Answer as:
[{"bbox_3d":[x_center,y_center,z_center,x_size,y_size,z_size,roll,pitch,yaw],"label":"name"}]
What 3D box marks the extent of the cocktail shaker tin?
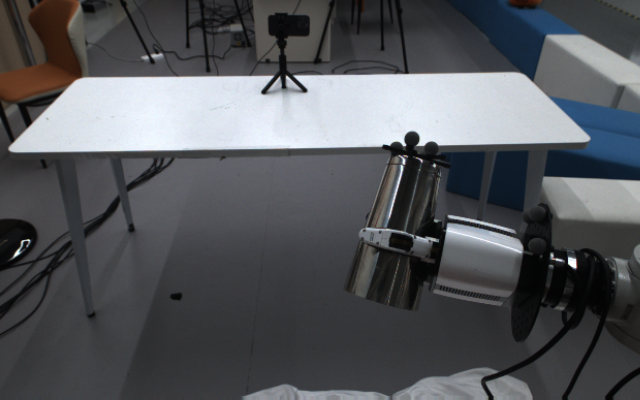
[{"bbox_3d":[0.095,0.037,0.585,0.093,0.170,0.093,15,-4,1],"label":"cocktail shaker tin"}]
